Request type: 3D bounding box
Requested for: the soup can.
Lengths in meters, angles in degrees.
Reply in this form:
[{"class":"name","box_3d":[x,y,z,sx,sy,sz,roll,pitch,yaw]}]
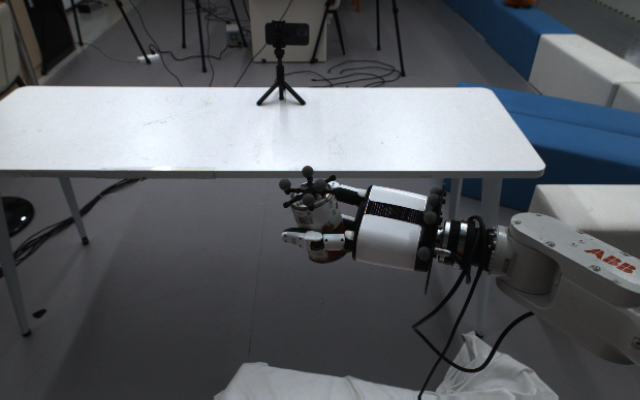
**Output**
[{"class":"soup can","box_3d":[0.002,0.034,0.712,0.067,0.101,0.067,-13,31,8]}]
